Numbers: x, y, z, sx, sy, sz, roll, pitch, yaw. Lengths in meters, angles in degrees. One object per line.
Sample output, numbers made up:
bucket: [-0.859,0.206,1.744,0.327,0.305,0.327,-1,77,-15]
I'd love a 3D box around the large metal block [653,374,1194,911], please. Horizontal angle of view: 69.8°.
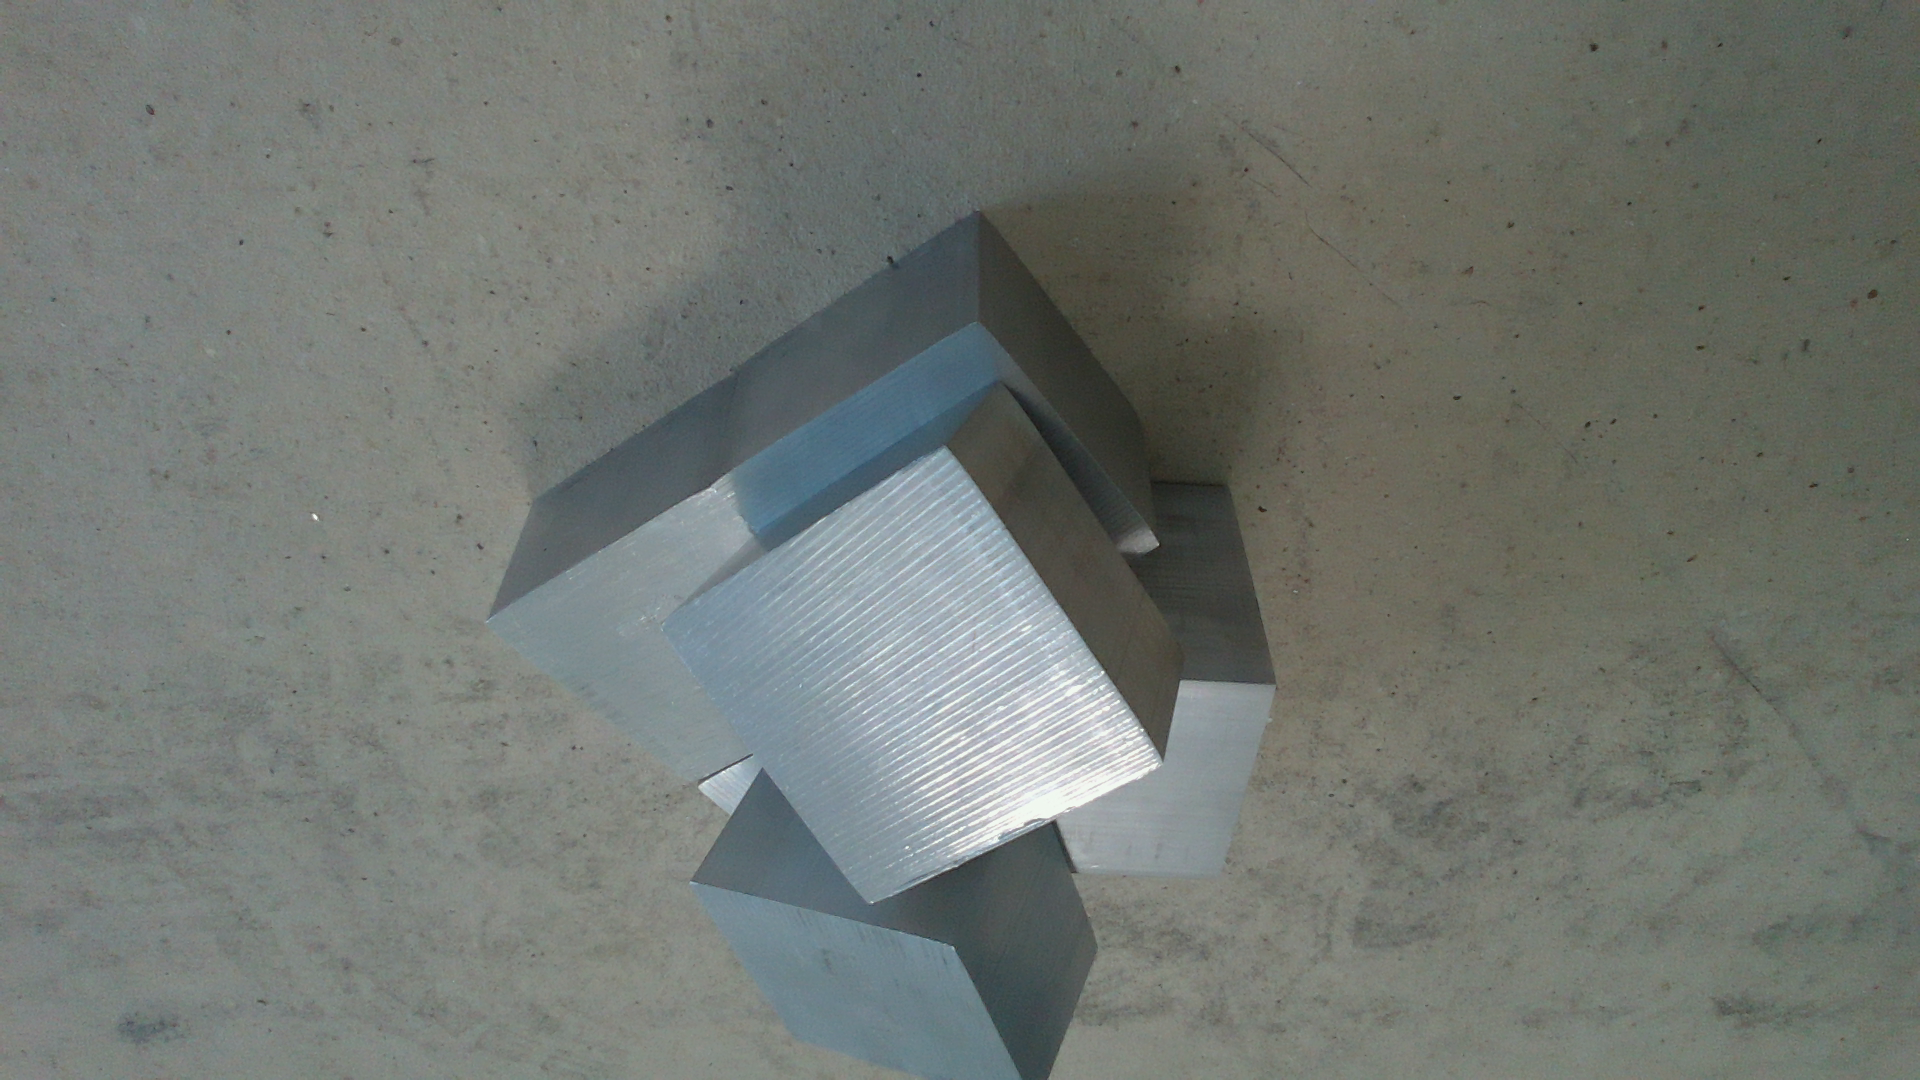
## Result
large metal block: [-0.005,0.023,0.307,0.080,0.050,0.080,-31,101,23]

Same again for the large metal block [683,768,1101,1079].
large metal block: [-0.015,0.104,0.377,0.080,0.050,0.080,5,136,29]

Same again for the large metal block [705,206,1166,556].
large metal block: [-0.005,-0.023,0.353,0.080,0.050,0.080,-30,124,21]

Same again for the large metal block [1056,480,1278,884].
large metal block: [0.050,0.039,0.388,0.050,0.080,0.080,3,130,-2]

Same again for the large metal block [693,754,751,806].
large metal block: [-0.022,0.062,0.428,0.080,0.050,0.080,-29,124,22]

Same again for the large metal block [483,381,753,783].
large metal block: [-0.069,0.012,0.386,0.080,0.050,0.080,-29,125,22]
